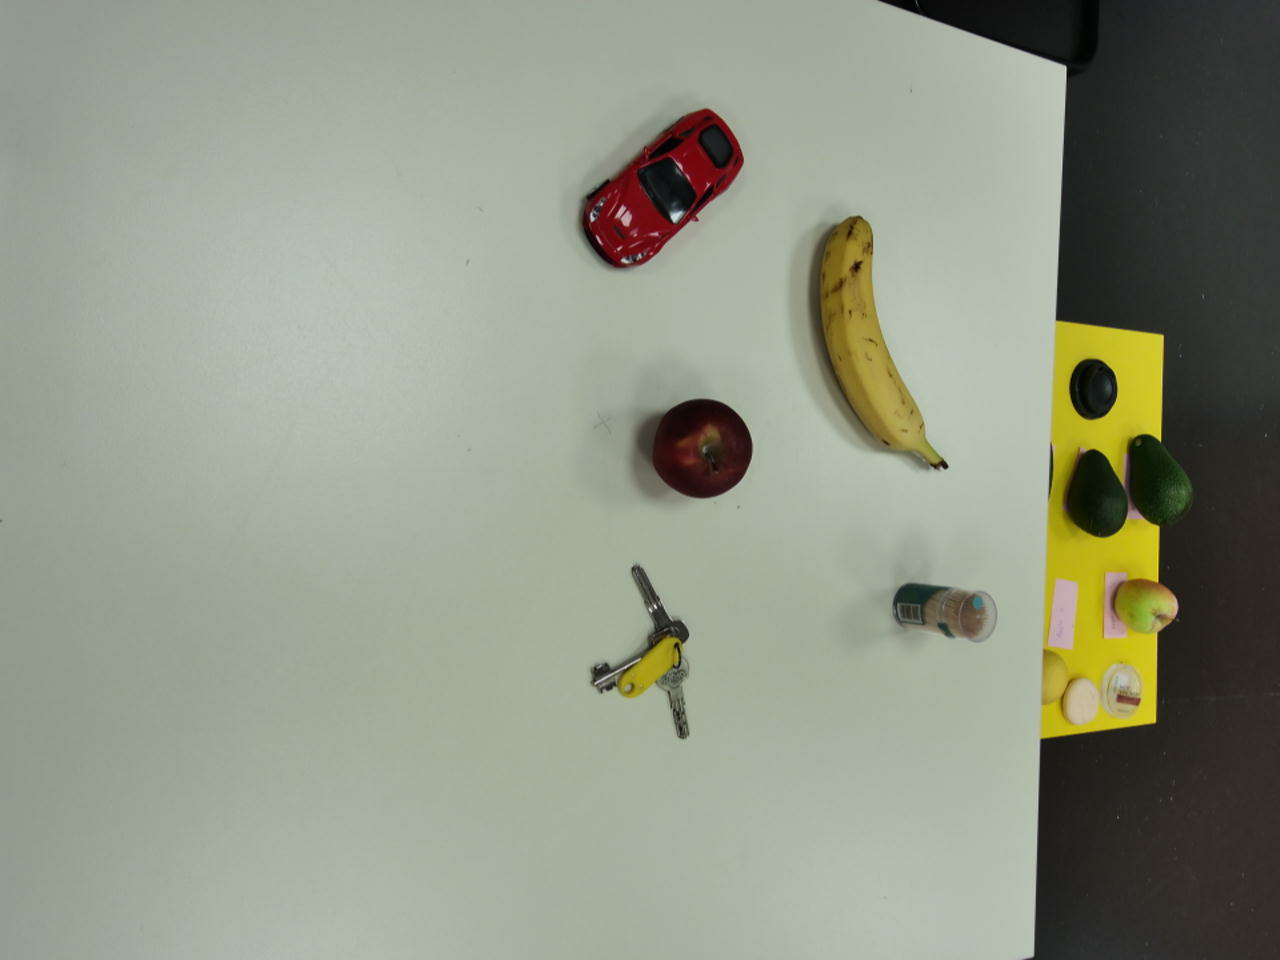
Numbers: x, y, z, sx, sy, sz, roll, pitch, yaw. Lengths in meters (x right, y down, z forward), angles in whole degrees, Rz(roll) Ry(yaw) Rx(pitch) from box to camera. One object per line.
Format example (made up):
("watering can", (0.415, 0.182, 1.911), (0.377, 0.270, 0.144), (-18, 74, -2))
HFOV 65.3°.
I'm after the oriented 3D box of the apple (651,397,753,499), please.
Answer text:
("apple", (0.043, -0.021, 0.695), (0.070, 0.072, 0.070), (0, 90, -28))
